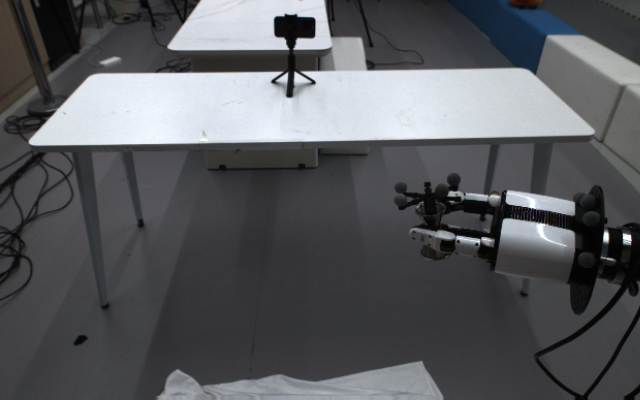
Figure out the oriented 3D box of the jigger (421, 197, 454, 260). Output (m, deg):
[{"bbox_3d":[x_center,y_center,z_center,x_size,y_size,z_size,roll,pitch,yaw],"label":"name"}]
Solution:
[{"bbox_3d":[0.153,0.040,0.653,0.043,0.071,0.043,-12,24,5],"label":"jigger"}]
